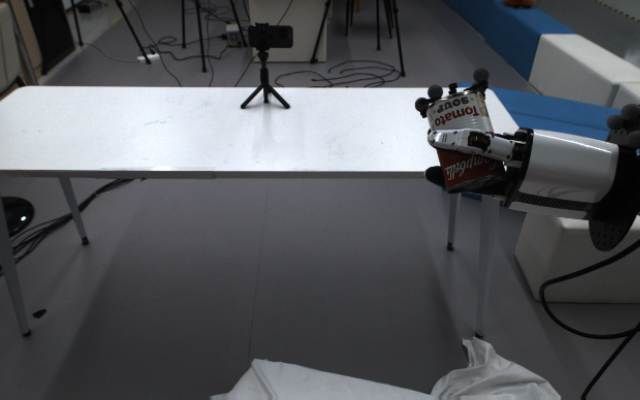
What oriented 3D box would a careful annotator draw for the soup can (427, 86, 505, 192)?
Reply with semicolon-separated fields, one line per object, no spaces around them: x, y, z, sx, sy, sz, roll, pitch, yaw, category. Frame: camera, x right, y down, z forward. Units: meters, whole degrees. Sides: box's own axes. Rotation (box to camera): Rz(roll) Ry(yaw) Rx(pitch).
0.170;-0.068;0.560;0.067;0.067;0.101;-11;80;-19;soup can
